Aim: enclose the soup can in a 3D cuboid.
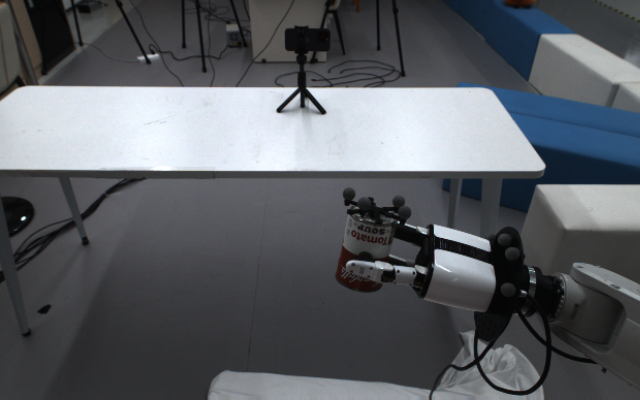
[{"bbox_3d":[0.065,0.063,0.660,0.067,0.101,0.067,9,20,-3],"label":"soup can"}]
